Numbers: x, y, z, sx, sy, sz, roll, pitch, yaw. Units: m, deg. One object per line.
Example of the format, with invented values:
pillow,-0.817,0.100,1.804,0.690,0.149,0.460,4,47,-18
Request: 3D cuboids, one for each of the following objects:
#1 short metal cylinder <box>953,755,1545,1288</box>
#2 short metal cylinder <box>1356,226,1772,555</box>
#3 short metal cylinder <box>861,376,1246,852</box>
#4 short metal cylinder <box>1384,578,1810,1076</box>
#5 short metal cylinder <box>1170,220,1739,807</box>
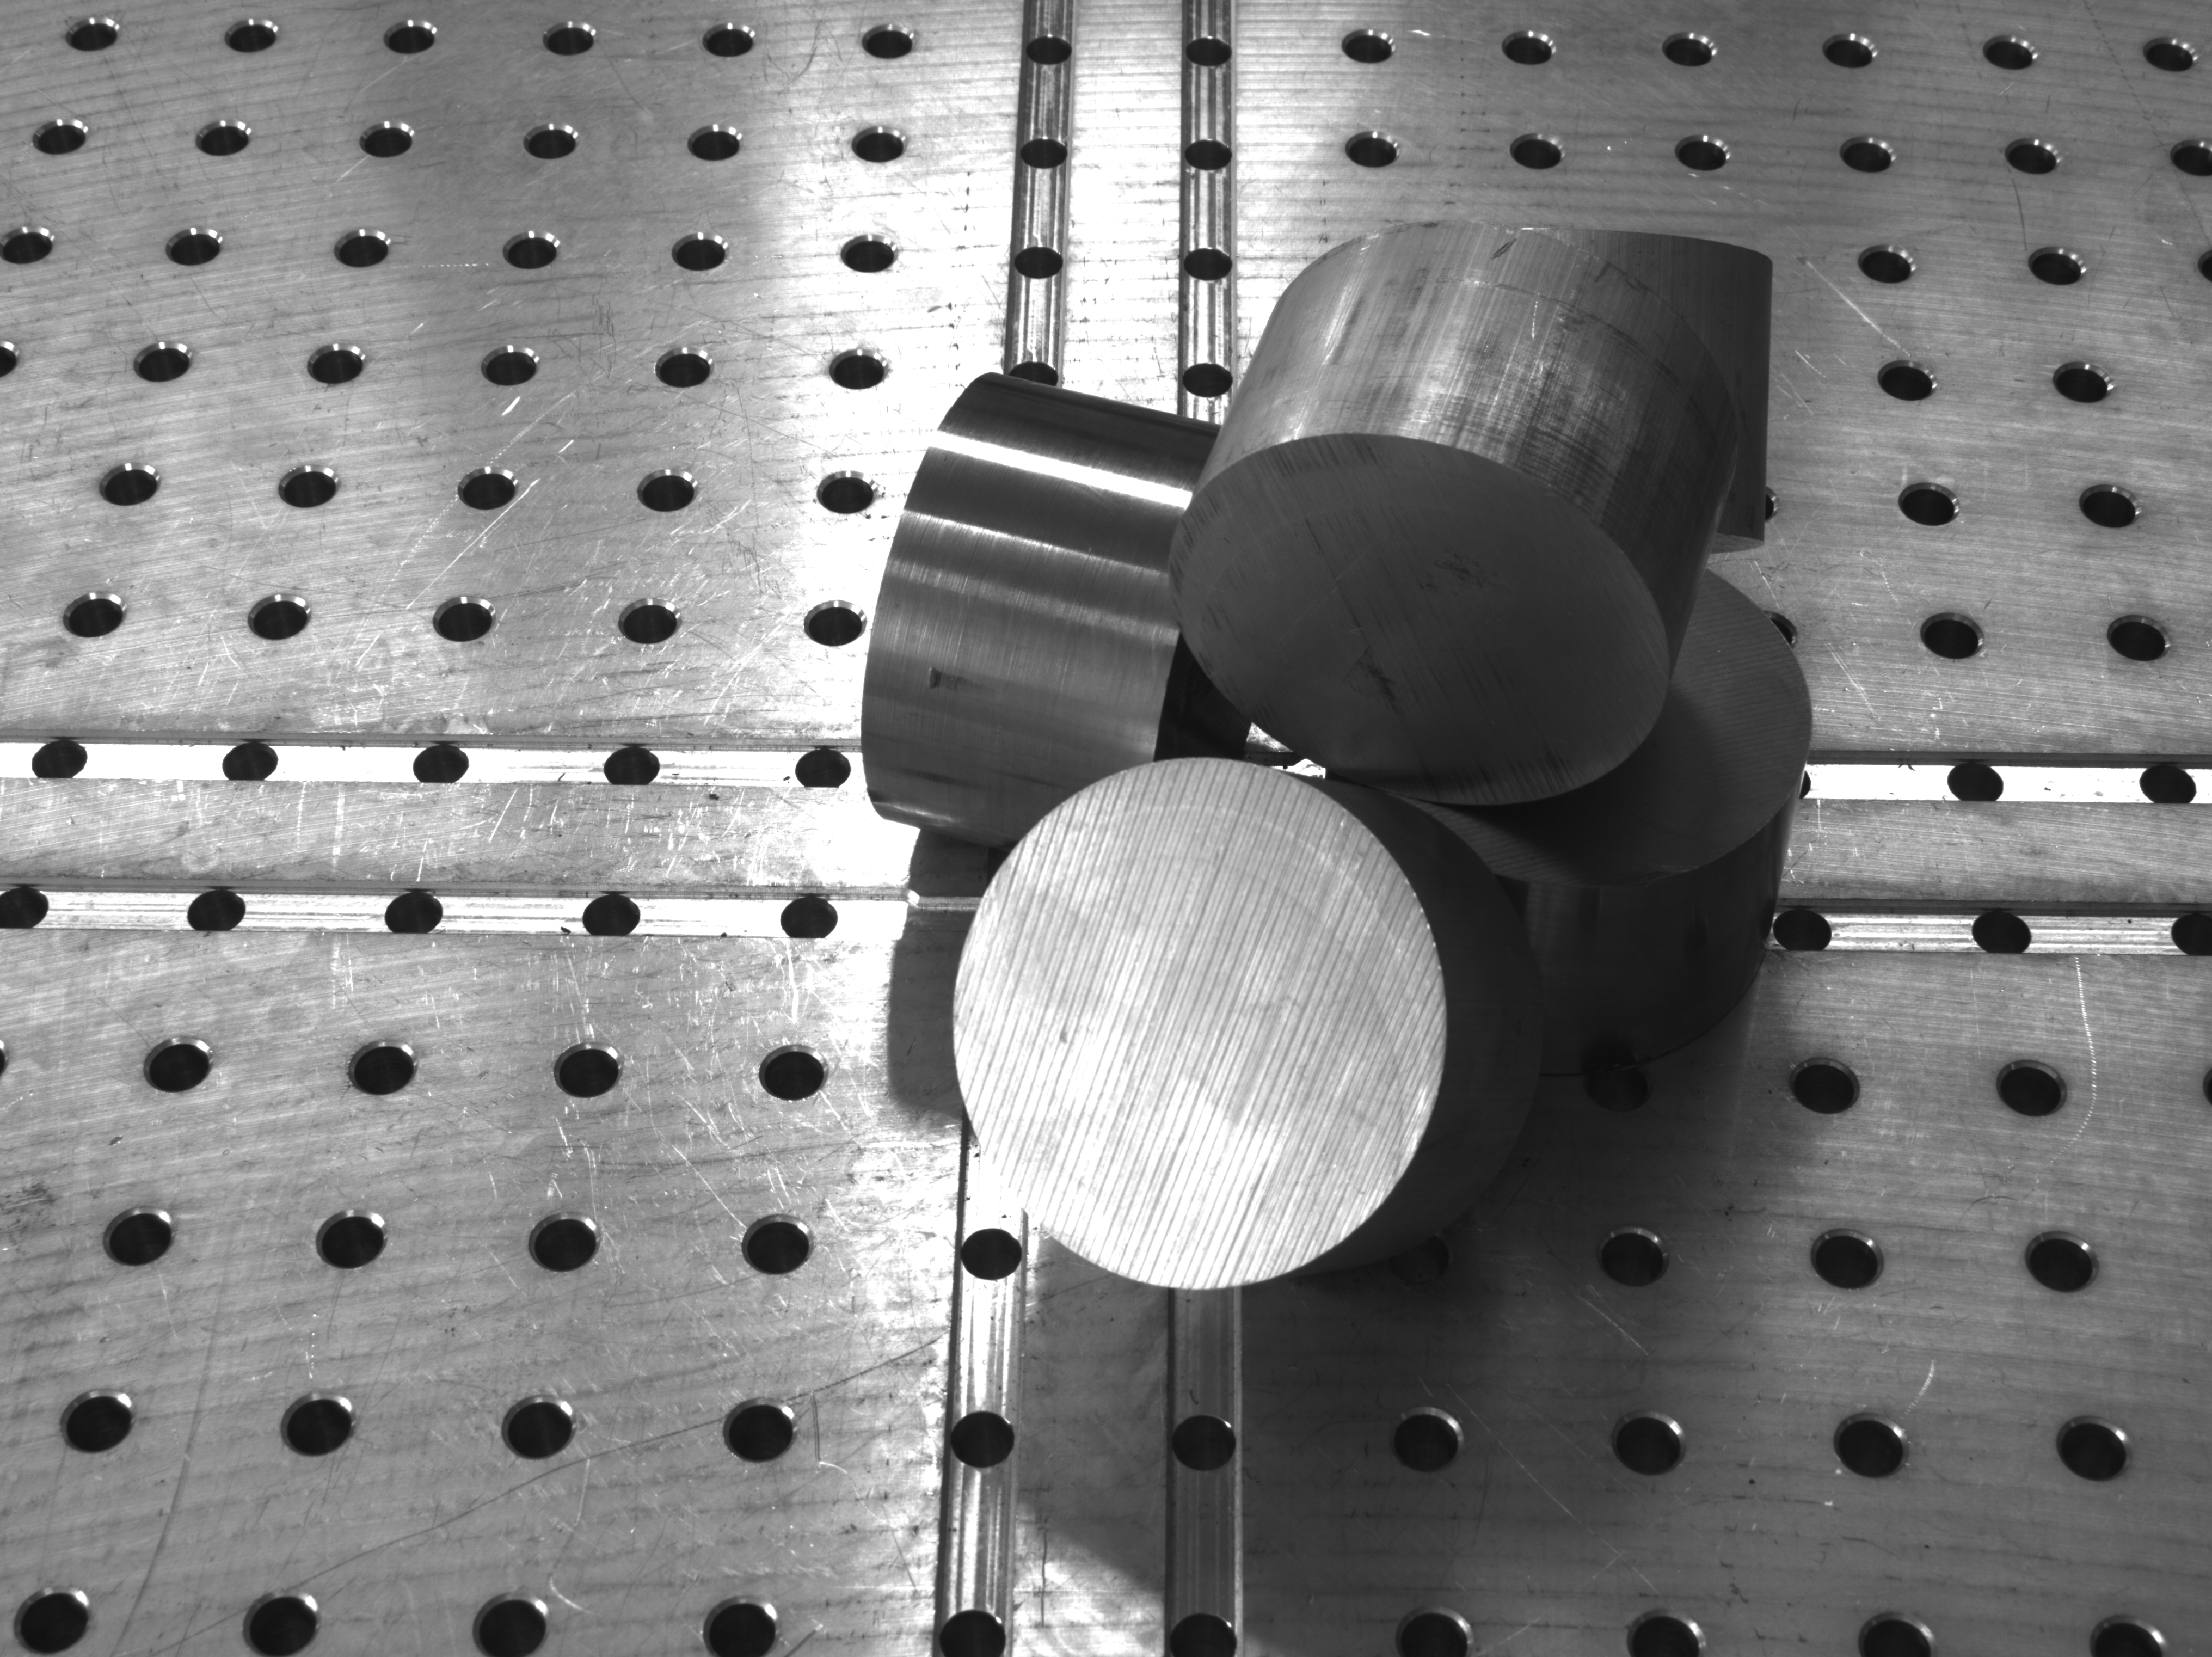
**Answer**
short metal cylinder,0.023,0.030,0.577,0.080,0.050,0.080,-1,87,23
short metal cylinder,0.079,-0.077,0.665,0.080,0.080,0.050,2,90,2
short metal cylinder,-0.004,-0.034,0.638,0.050,0.080,0.080,15,51,12
short metal cylinder,0.077,-0.005,0.632,0.080,0.050,0.080,0,49,1
short metal cylinder,0.056,-0.049,0.585,0.080,0.080,0.050,14,51,11
